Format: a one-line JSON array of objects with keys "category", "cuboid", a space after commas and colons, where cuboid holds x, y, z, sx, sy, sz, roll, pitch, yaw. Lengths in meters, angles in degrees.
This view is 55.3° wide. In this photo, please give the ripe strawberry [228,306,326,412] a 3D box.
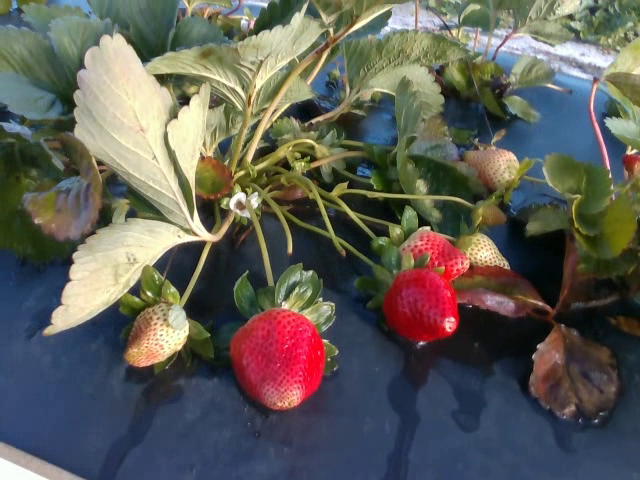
[{"category": "ripe strawberry", "cuboid": [-0.020, 0.058, 0.283, 0.050, 0.050, 0.065, -22, 18, 4]}]

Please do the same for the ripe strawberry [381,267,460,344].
[{"category": "ripe strawberry", "cuboid": [0.056, 0.039, 0.319, 0.042, 0.044, 0.055, 47, -4, -23]}]
